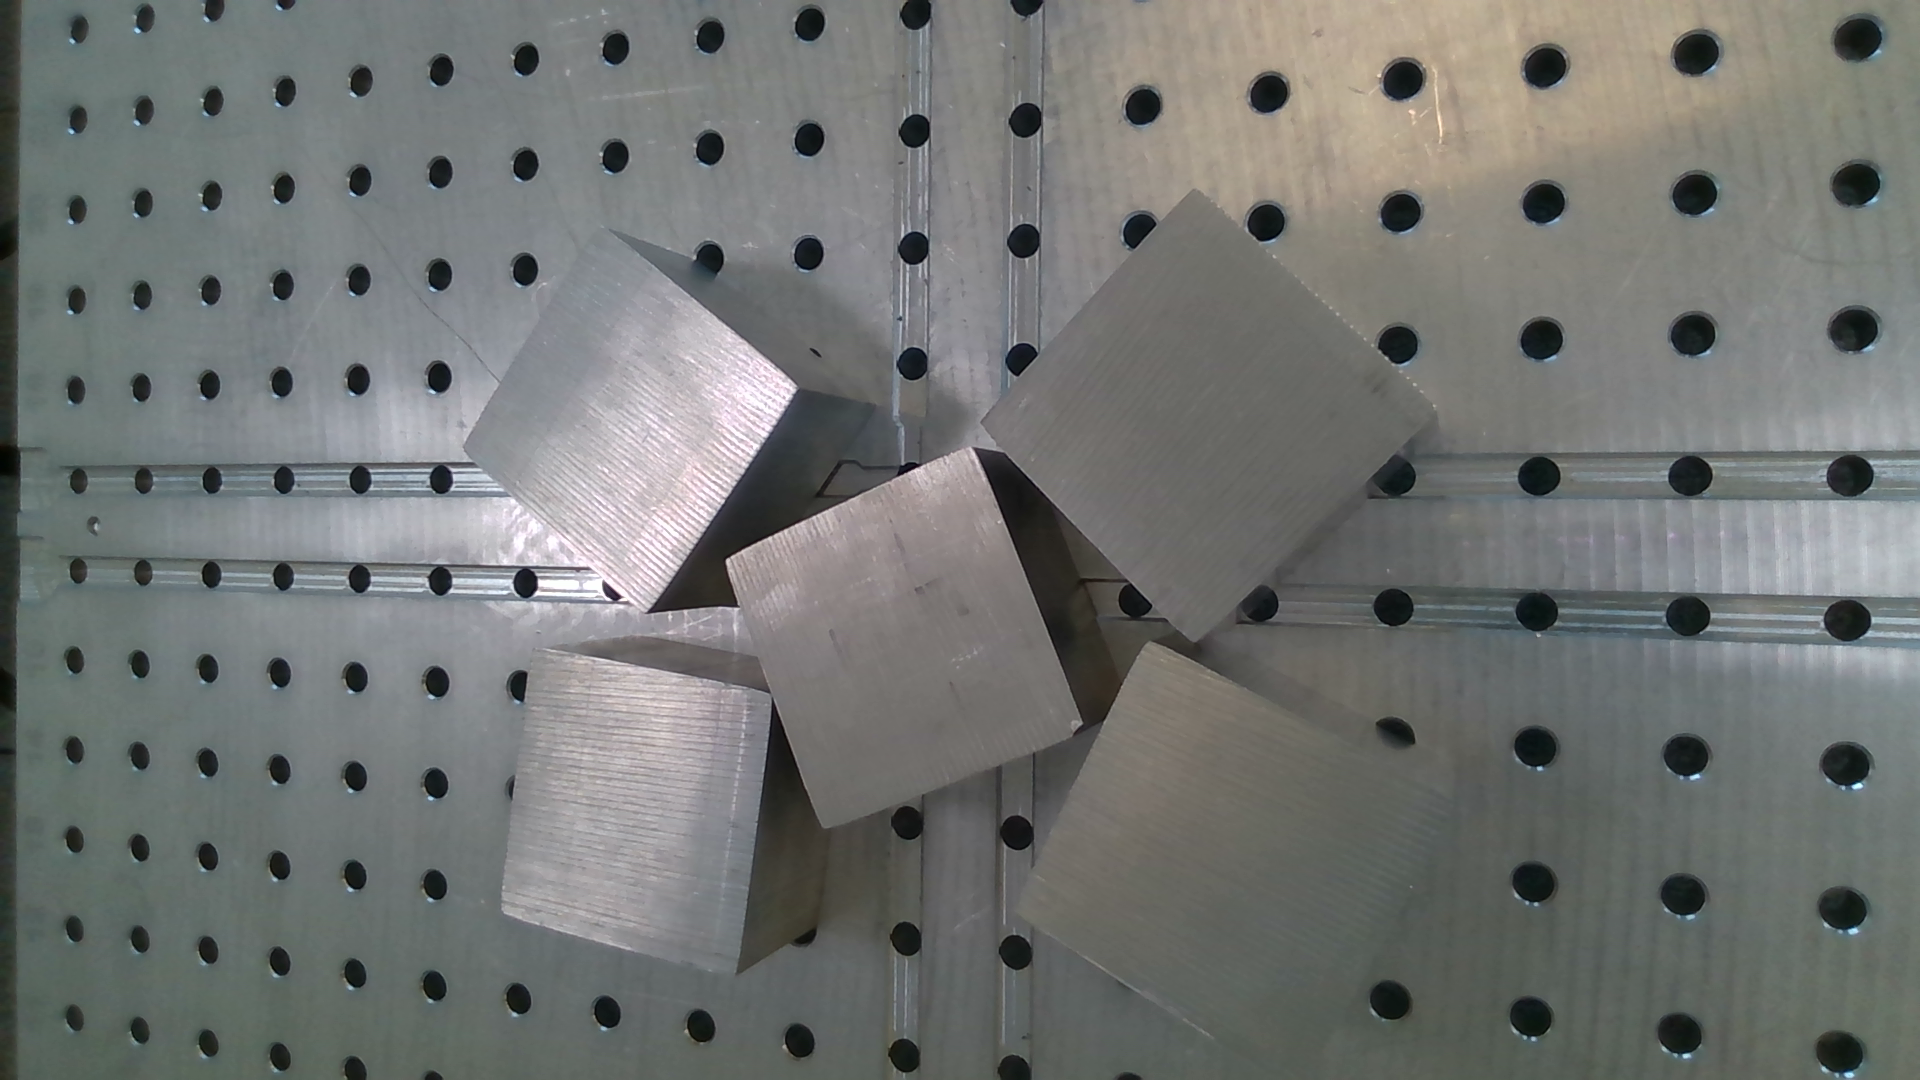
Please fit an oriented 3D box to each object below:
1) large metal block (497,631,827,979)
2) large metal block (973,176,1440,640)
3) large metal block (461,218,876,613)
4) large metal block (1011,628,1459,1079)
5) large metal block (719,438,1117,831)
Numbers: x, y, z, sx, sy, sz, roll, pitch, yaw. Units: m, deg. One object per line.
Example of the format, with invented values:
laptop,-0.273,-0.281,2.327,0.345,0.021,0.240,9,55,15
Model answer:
large metal block,-0.086,0.075,0.415,0.080,0.050,0.080,9,94,20
large metal block,0.065,-0.032,0.359,0.080,0.050,0.080,-46,75,14
large metal block,-0.087,-0.035,0.413,0.080,0.050,0.080,39,102,15
large metal block,0.072,0.076,0.356,0.080,0.050,0.080,27,102,18
large metal block,-0.009,0.026,0.386,0.080,0.050,0.080,-24,82,19
